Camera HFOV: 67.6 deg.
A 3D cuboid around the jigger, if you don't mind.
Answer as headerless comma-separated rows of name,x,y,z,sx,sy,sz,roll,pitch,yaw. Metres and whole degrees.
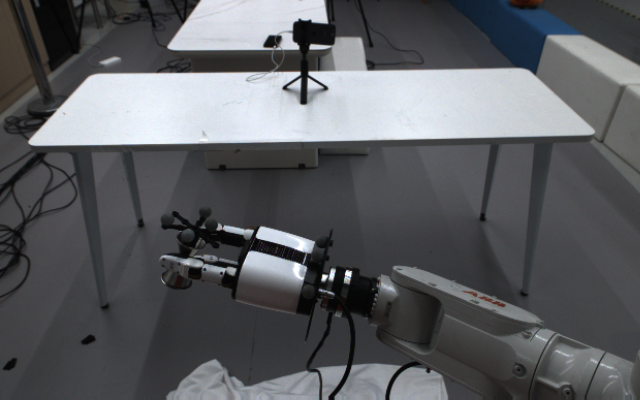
jigger,-0.187,0.083,0.664,0.043,0.071,0.043,22,19,-8
